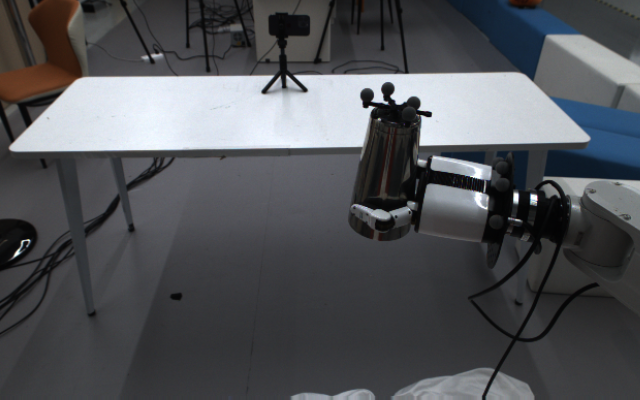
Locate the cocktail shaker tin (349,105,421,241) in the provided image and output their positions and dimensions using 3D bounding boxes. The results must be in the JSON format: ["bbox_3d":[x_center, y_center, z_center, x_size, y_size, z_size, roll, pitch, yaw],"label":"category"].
[{"bbox_3d":[0.093,-0.039,0.665,0.093,0.170,0.093,3,34,-2],"label":"cocktail shaker tin"}]
